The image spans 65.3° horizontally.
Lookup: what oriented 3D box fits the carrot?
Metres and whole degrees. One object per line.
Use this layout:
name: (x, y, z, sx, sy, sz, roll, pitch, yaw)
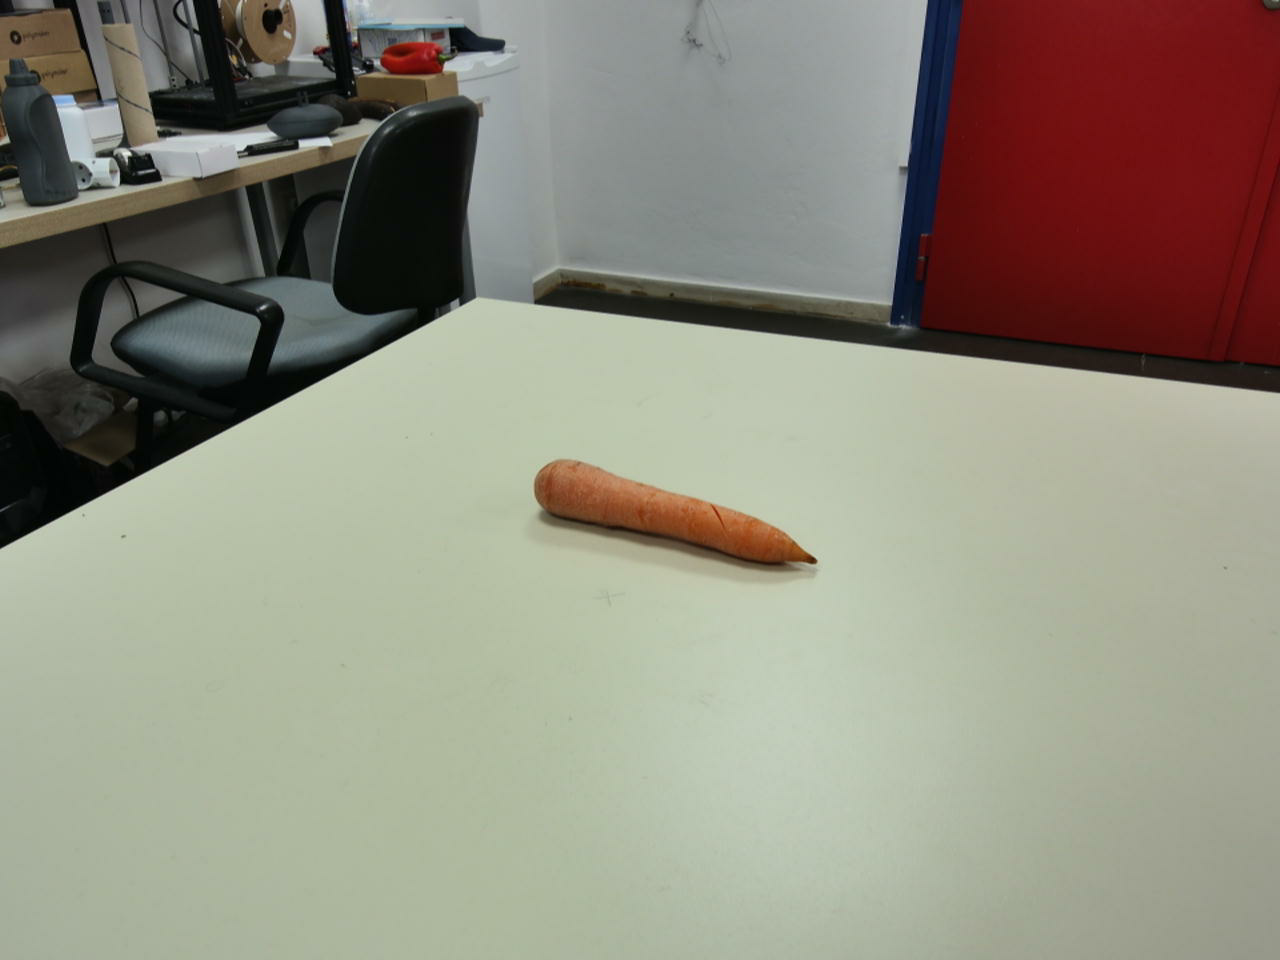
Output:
carrot: (0.020, 0.020, 0.641, 0.196, 0.041, 0.039, 11, 28, 22)
